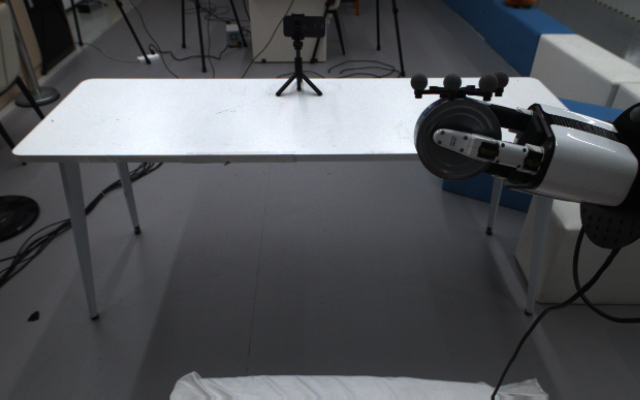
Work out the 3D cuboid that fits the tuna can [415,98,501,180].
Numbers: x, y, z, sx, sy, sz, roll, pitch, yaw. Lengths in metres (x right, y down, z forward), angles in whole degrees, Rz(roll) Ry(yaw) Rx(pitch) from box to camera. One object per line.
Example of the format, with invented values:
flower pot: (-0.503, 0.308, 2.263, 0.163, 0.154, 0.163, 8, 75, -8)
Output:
tuna can: (0.145, -0.067, 0.513, 0.085, 0.085, 0.034, 4, 18, 3)
